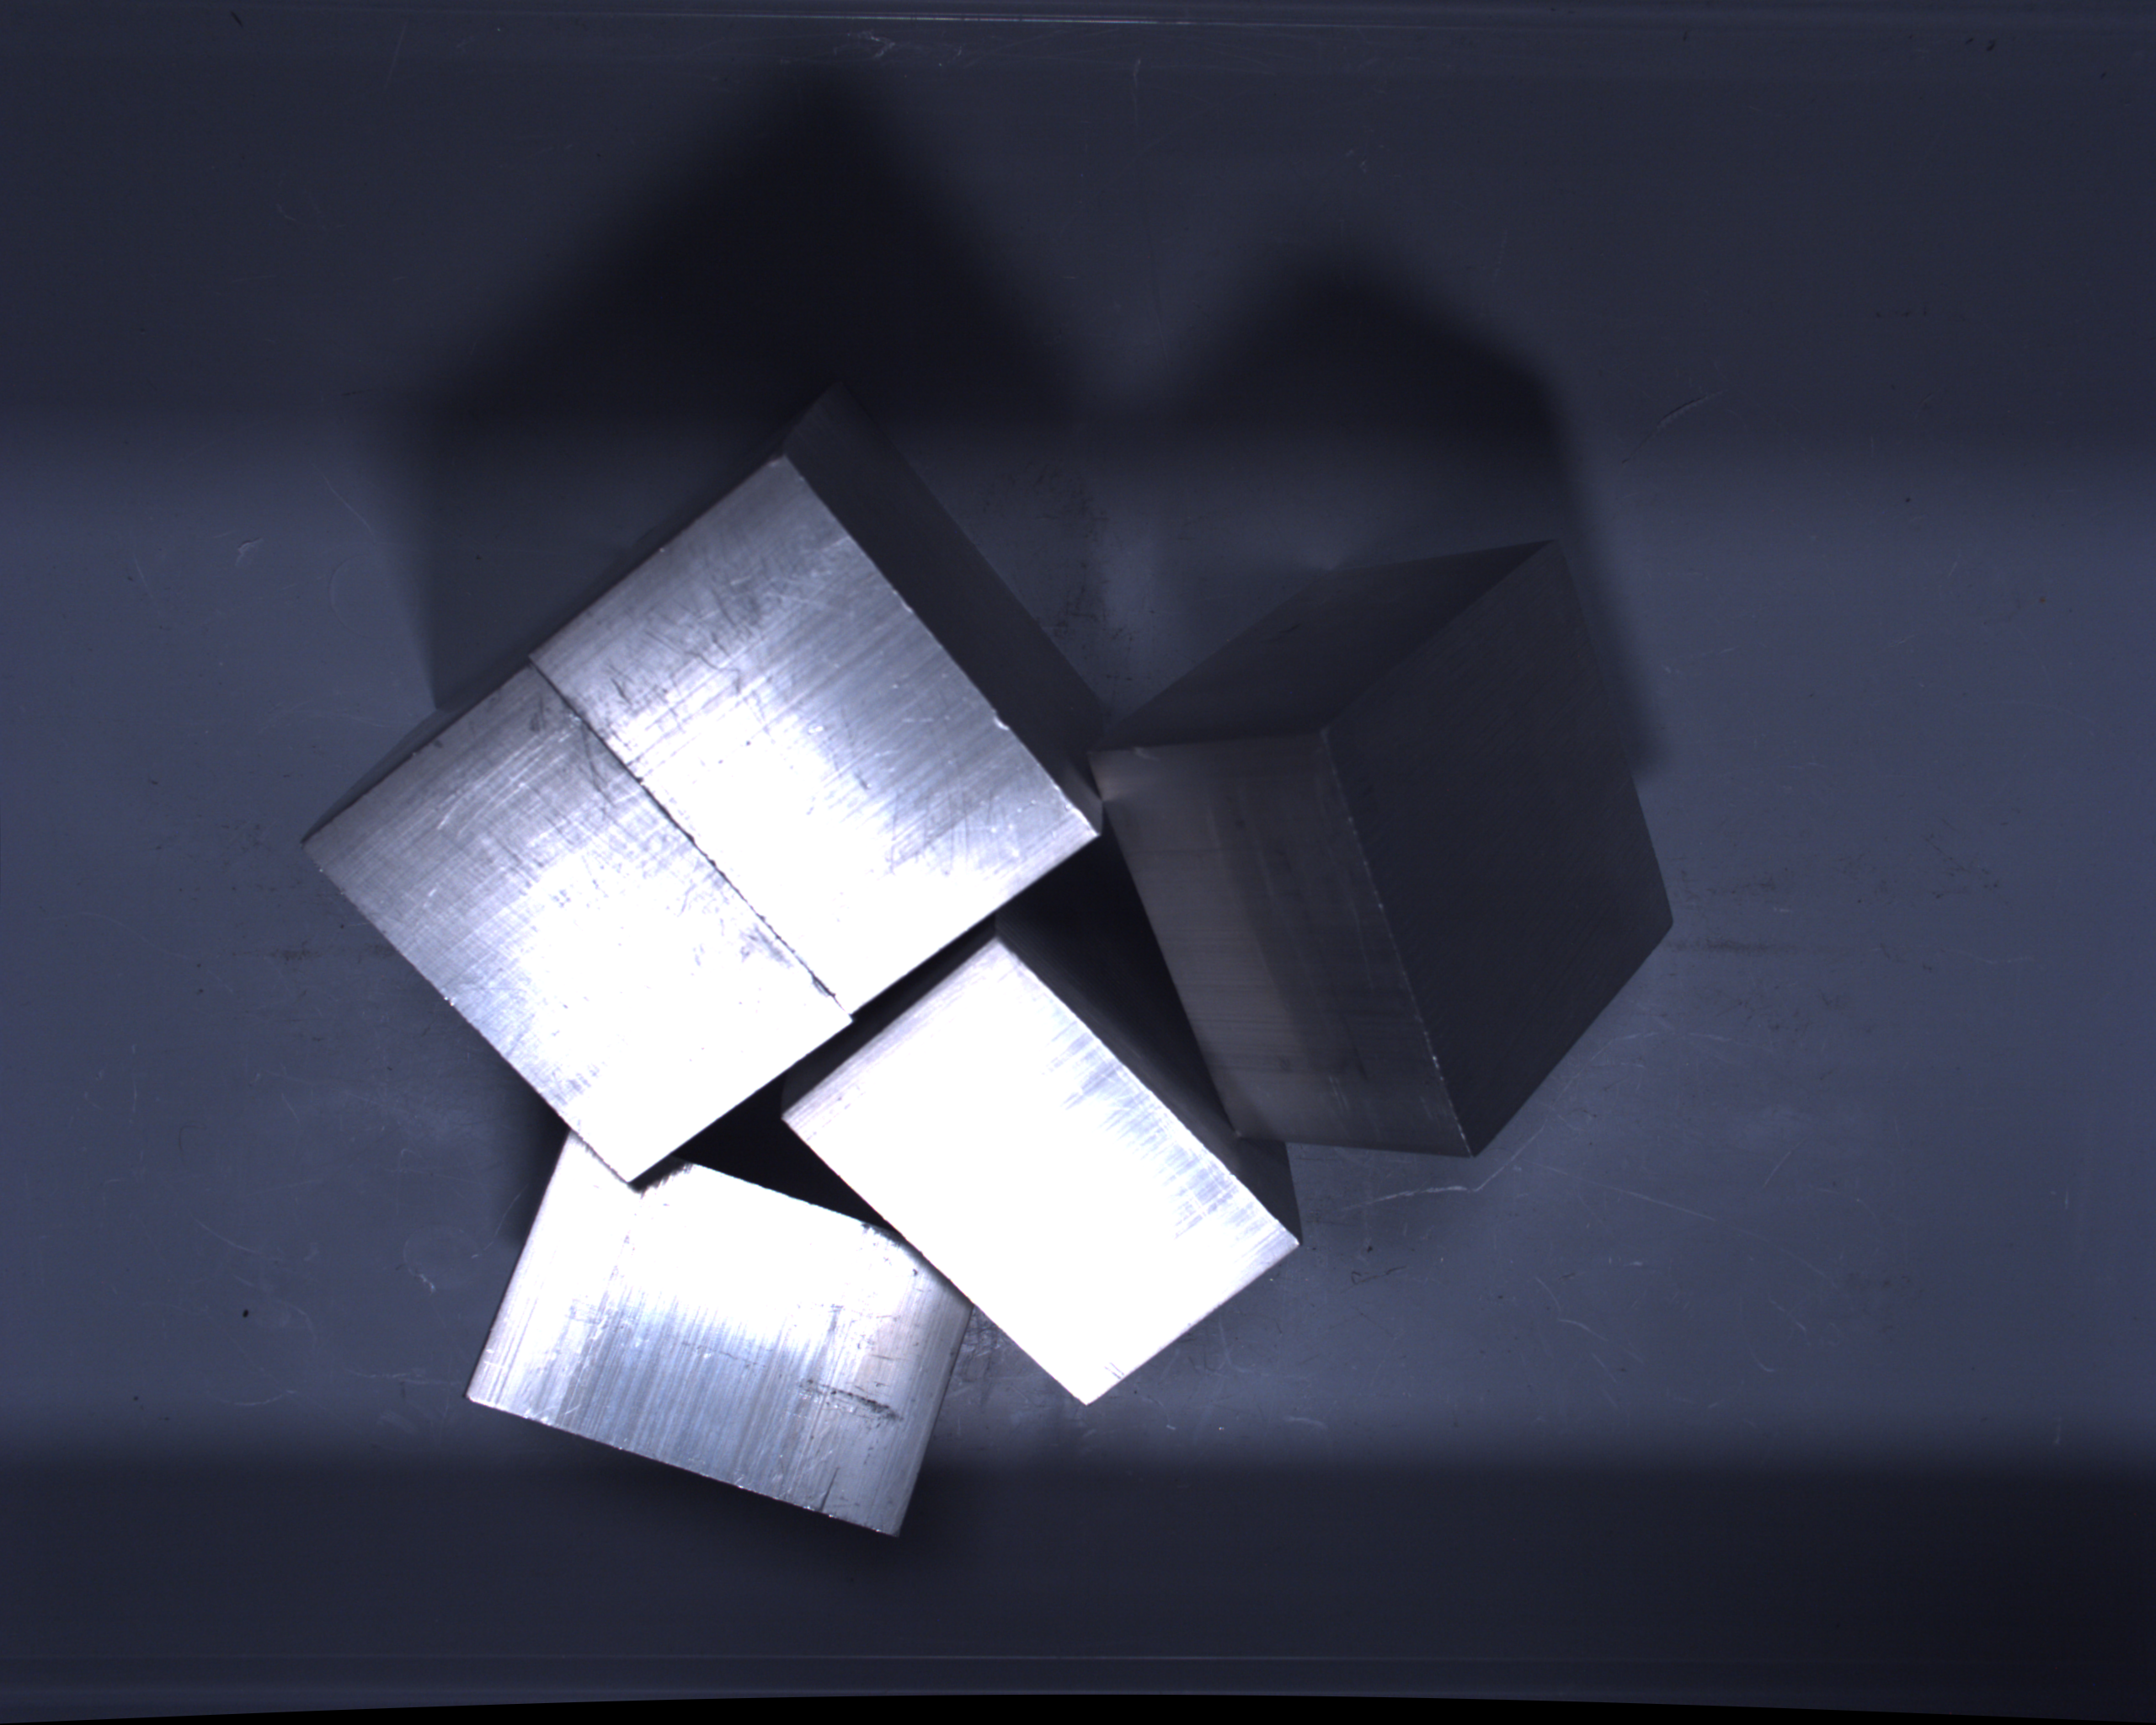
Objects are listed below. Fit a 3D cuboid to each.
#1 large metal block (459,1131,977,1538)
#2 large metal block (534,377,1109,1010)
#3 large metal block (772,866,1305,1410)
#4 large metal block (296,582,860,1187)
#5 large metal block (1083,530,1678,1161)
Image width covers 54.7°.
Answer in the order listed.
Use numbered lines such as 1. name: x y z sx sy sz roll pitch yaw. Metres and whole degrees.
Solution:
1. large metal block: -0.069 0.090 0.406 0.080 0.080 0.050 21 74 -8
2. large metal block: -0.040 -0.033 0.367 0.050 0.080 0.080 -37 106 12
3. large metal block: -0.006 0.041 0.395 0.050 0.080 0.080 -40 106 13
4. large metal block: -0.082 -0.002 0.379 0.050 0.080 0.080 -36 107 12
5. large metal block: 0.057 -0.004 0.373 0.050 0.080 0.080 -3 117 44
